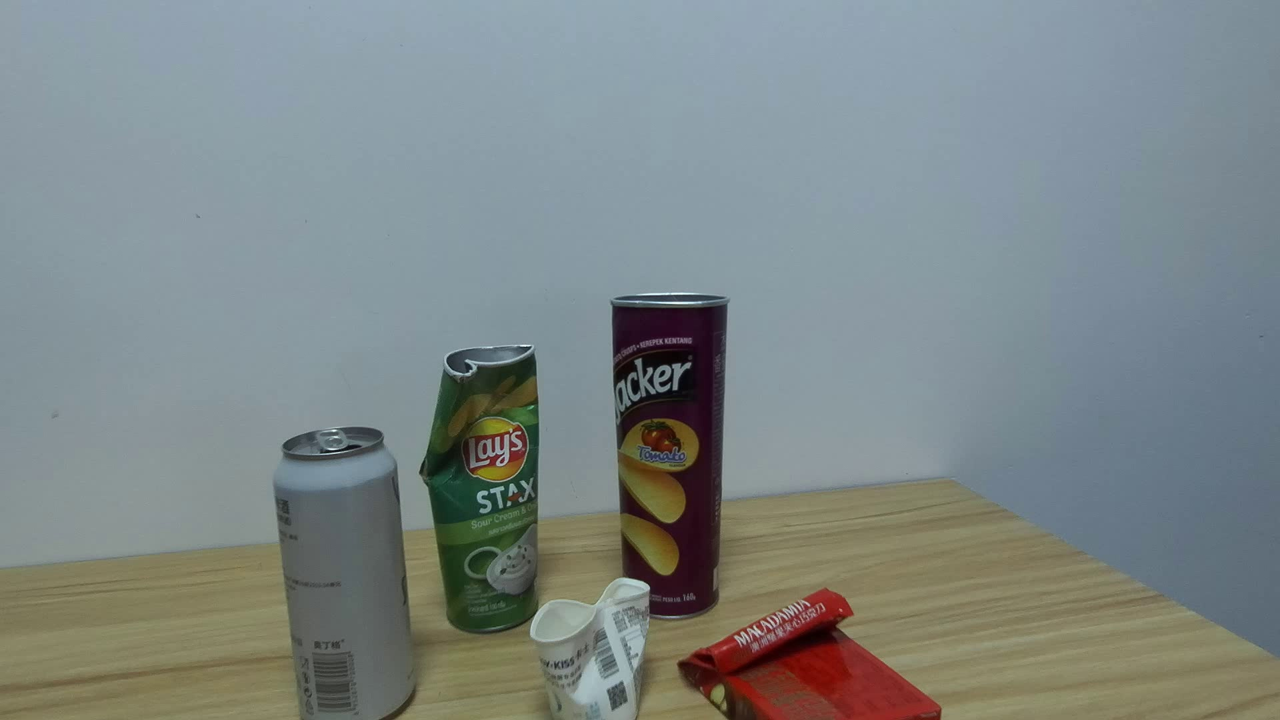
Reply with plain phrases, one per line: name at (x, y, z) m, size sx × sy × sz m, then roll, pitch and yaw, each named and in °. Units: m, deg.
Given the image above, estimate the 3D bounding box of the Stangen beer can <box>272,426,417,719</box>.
Stangen beer can at (-0.173, 0.128, 0.418) m, size 0.067 × 0.171 × 0.067 m, roll -2°, pitch 9°, yaw 1°

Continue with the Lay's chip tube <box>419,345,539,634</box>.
Lay's chip tube at (-0.112, 0.093, 0.520) m, size 0.069 × 0.201 × 0.077 m, roll 0°, pitch 14°, yaw 5°

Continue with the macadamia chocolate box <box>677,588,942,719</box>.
macadamia chocolate box at (0.095, 0.193, 0.420) m, size 0.112 × 0.056 × 0.126 m, roll -19°, pitch 18°, yaw -14°

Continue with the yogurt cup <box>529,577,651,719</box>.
yogurt cup at (-0.027, 0.175, 0.416) m, size 0.053 × 0.071 × 0.075 m, roll 4°, pitch 14°, yaw 18°

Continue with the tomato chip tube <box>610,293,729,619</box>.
tomato chip tube at (0.023, 0.071, 0.532) m, size 0.080 × 0.234 × 0.077 m, roll 10°, pitch 15°, yaw 42°
